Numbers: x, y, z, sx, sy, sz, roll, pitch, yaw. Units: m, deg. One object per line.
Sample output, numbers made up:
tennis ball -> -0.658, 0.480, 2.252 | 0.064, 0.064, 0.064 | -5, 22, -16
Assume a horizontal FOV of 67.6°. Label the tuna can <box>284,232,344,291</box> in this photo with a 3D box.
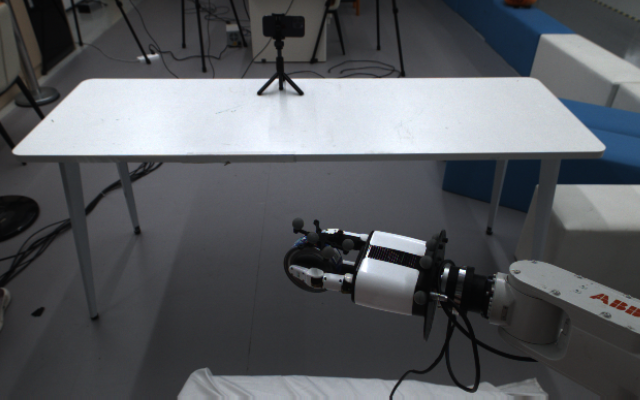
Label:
tuna can -> -0.008, 0.098, 0.738 | 0.085, 0.085, 0.034 | 13, 30, 15
